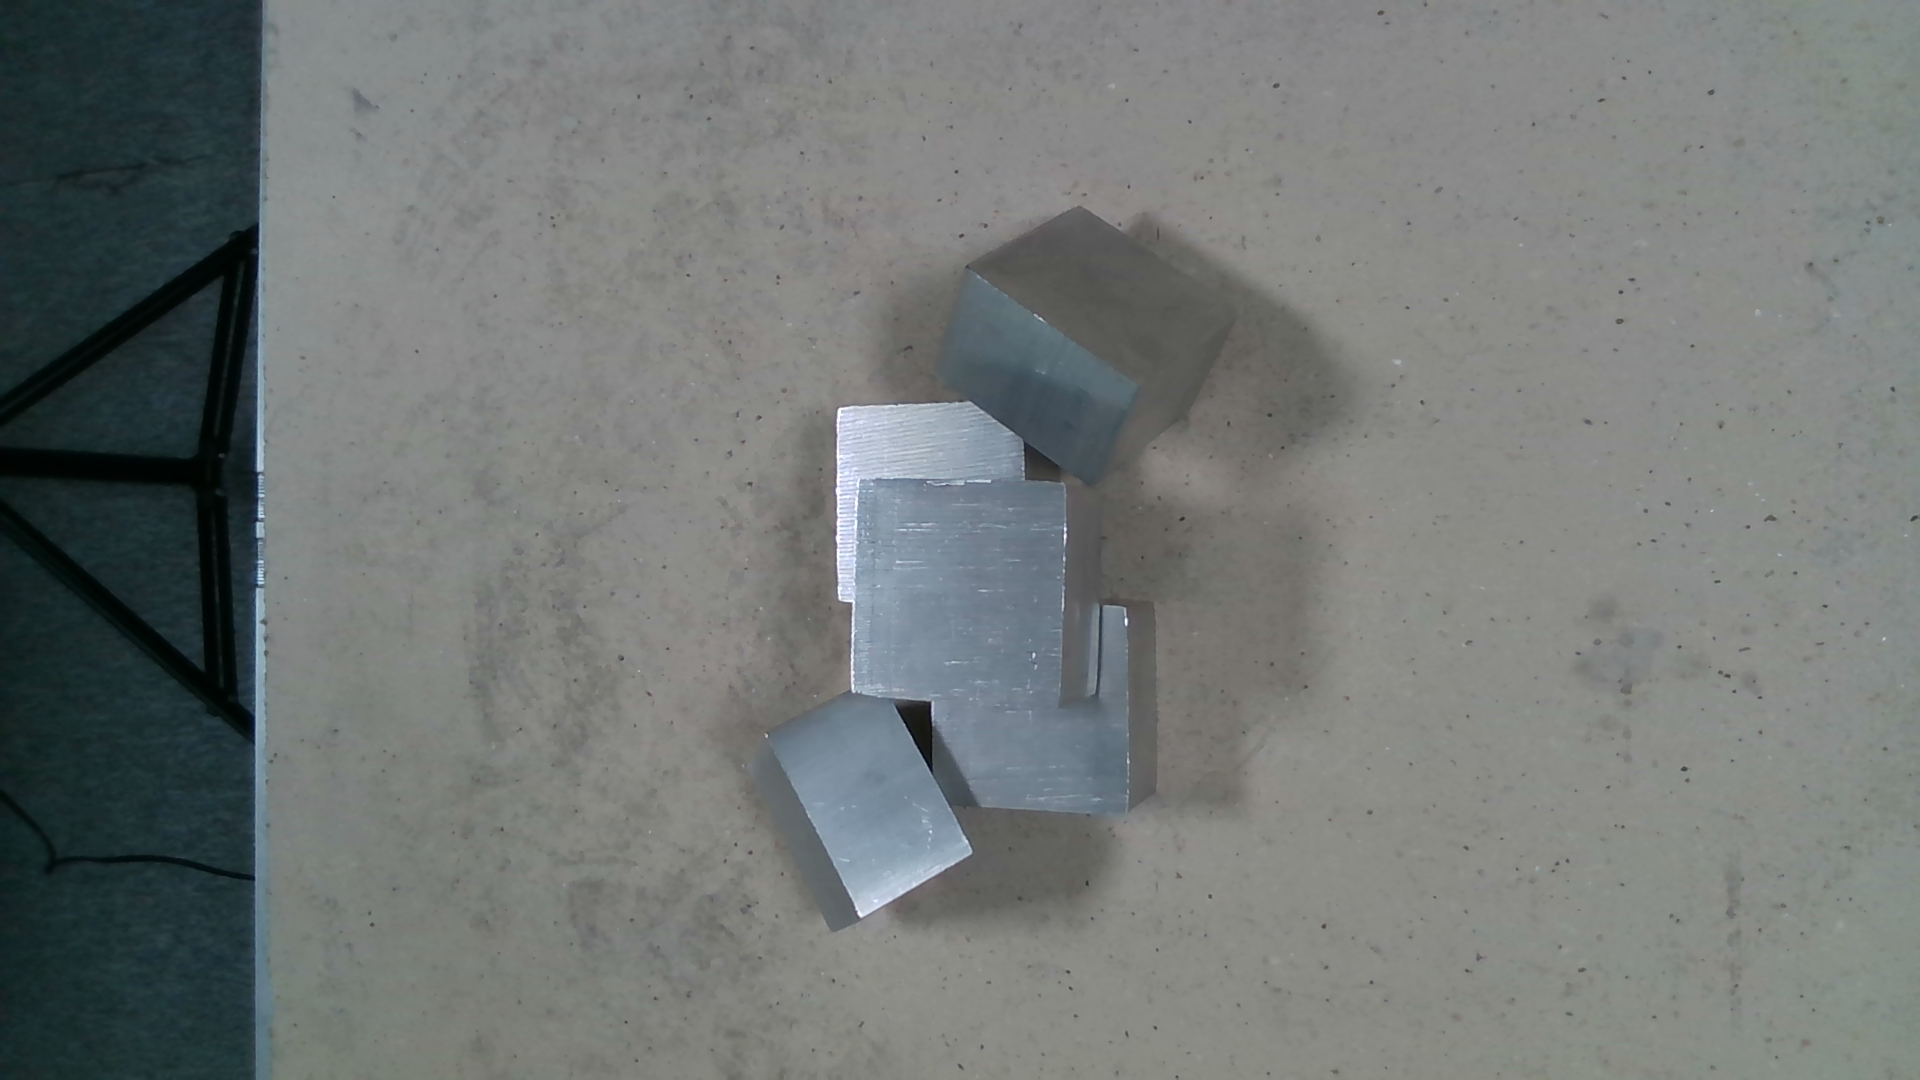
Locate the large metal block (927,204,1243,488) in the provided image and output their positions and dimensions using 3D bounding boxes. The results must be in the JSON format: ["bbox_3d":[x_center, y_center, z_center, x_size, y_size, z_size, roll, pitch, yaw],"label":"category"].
[{"bbox_3d":[0.048,-0.077,0.531,0.080,0.080,0.050,37,135,16],"label":"large metal block"}]

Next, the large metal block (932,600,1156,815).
[{"bbox_3d":[0.035,0.065,0.561,0.080,0.050,0.080,0,90,20],"label":"large metal block"}]

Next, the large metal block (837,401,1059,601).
[{"bbox_3d":[-0.004,-0.015,0.572,0.080,0.050,0.080,0,90,20],"label":"large metal block"}]

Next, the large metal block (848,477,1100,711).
[{"bbox_3d":[0.006,0.018,0.515,0.080,0.050,0.080,2,91,20],"label":"large metal block"}]

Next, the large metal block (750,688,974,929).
[{"bbox_3d":[-0.044,0.110,0.567,0.050,0.080,0.080,-26,79,-20],"label":"large metal block"}]
